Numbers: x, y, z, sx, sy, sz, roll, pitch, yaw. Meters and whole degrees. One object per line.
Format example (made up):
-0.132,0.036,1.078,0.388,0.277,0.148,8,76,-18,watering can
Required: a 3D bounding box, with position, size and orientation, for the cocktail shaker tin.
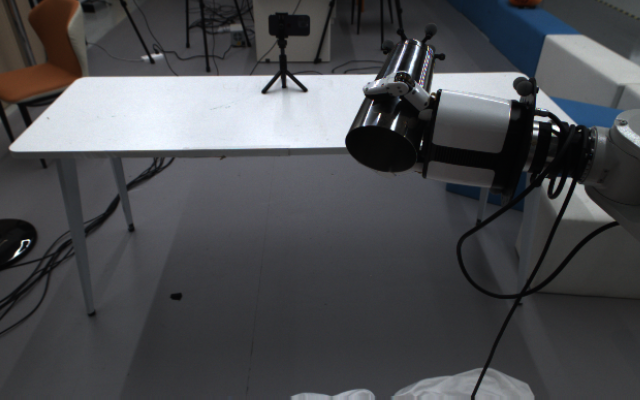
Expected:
0.102,-0.131,0.641,0.093,0.093,0.170,13,60,16,cocktail shaker tin
